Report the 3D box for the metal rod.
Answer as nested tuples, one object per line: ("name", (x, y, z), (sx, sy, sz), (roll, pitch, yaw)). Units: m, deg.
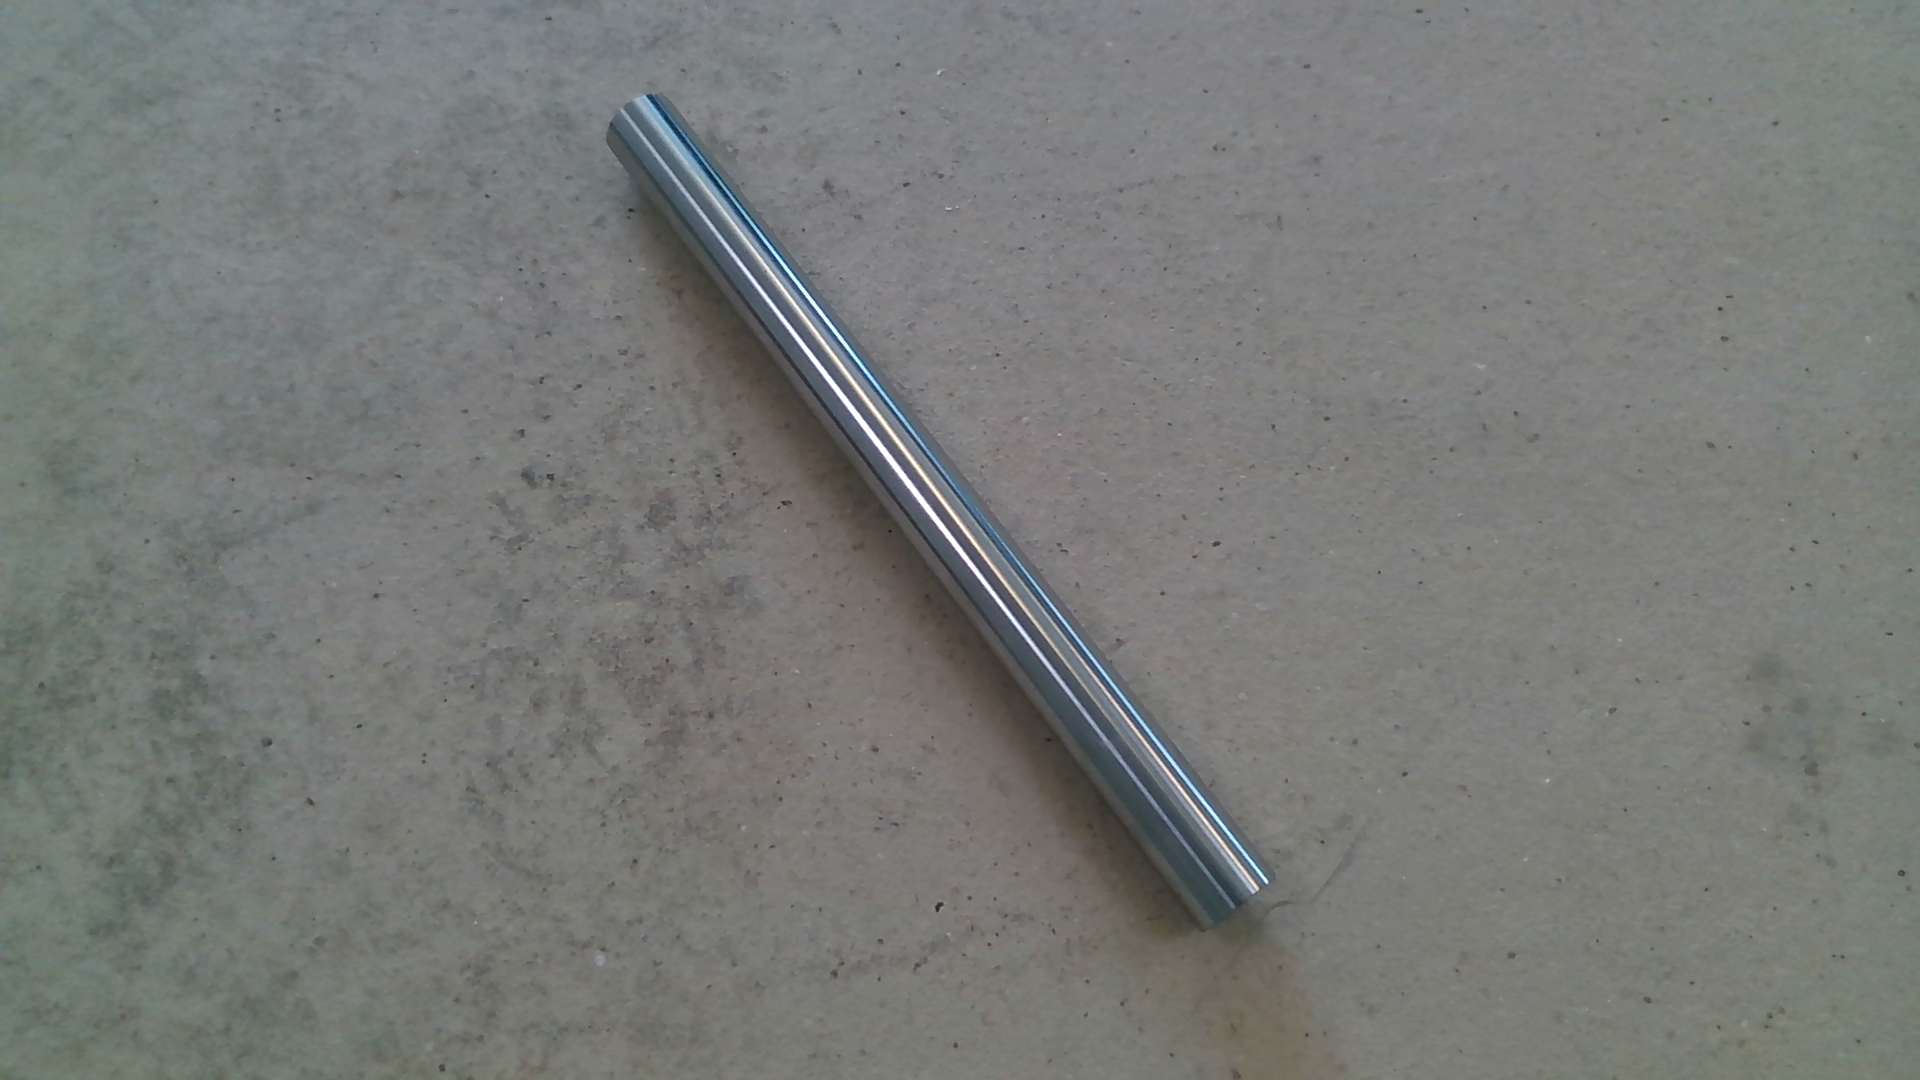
("metal rod", (-0.015, -0.020, 0.403), (0.025, 0.025, 0.299), (-34, 74, -11))
